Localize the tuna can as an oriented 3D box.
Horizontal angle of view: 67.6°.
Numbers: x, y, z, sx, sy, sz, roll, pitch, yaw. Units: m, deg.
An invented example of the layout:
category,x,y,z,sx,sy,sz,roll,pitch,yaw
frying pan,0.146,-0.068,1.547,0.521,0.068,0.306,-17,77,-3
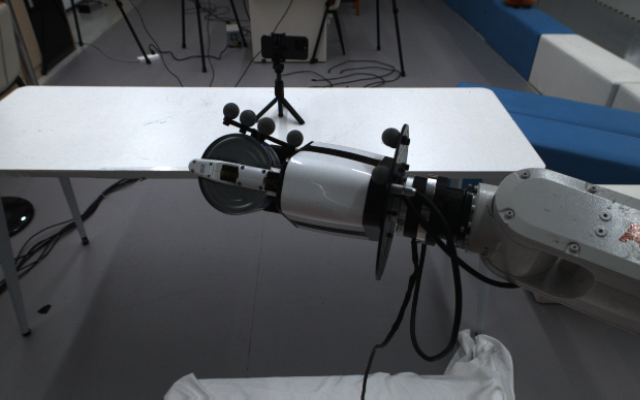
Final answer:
category,x,y,z,sx,sy,sz,roll,pitch,yaw
tuna can,-0.082,-0.028,0.521,0.085,0.085,0.034,13,3,16
